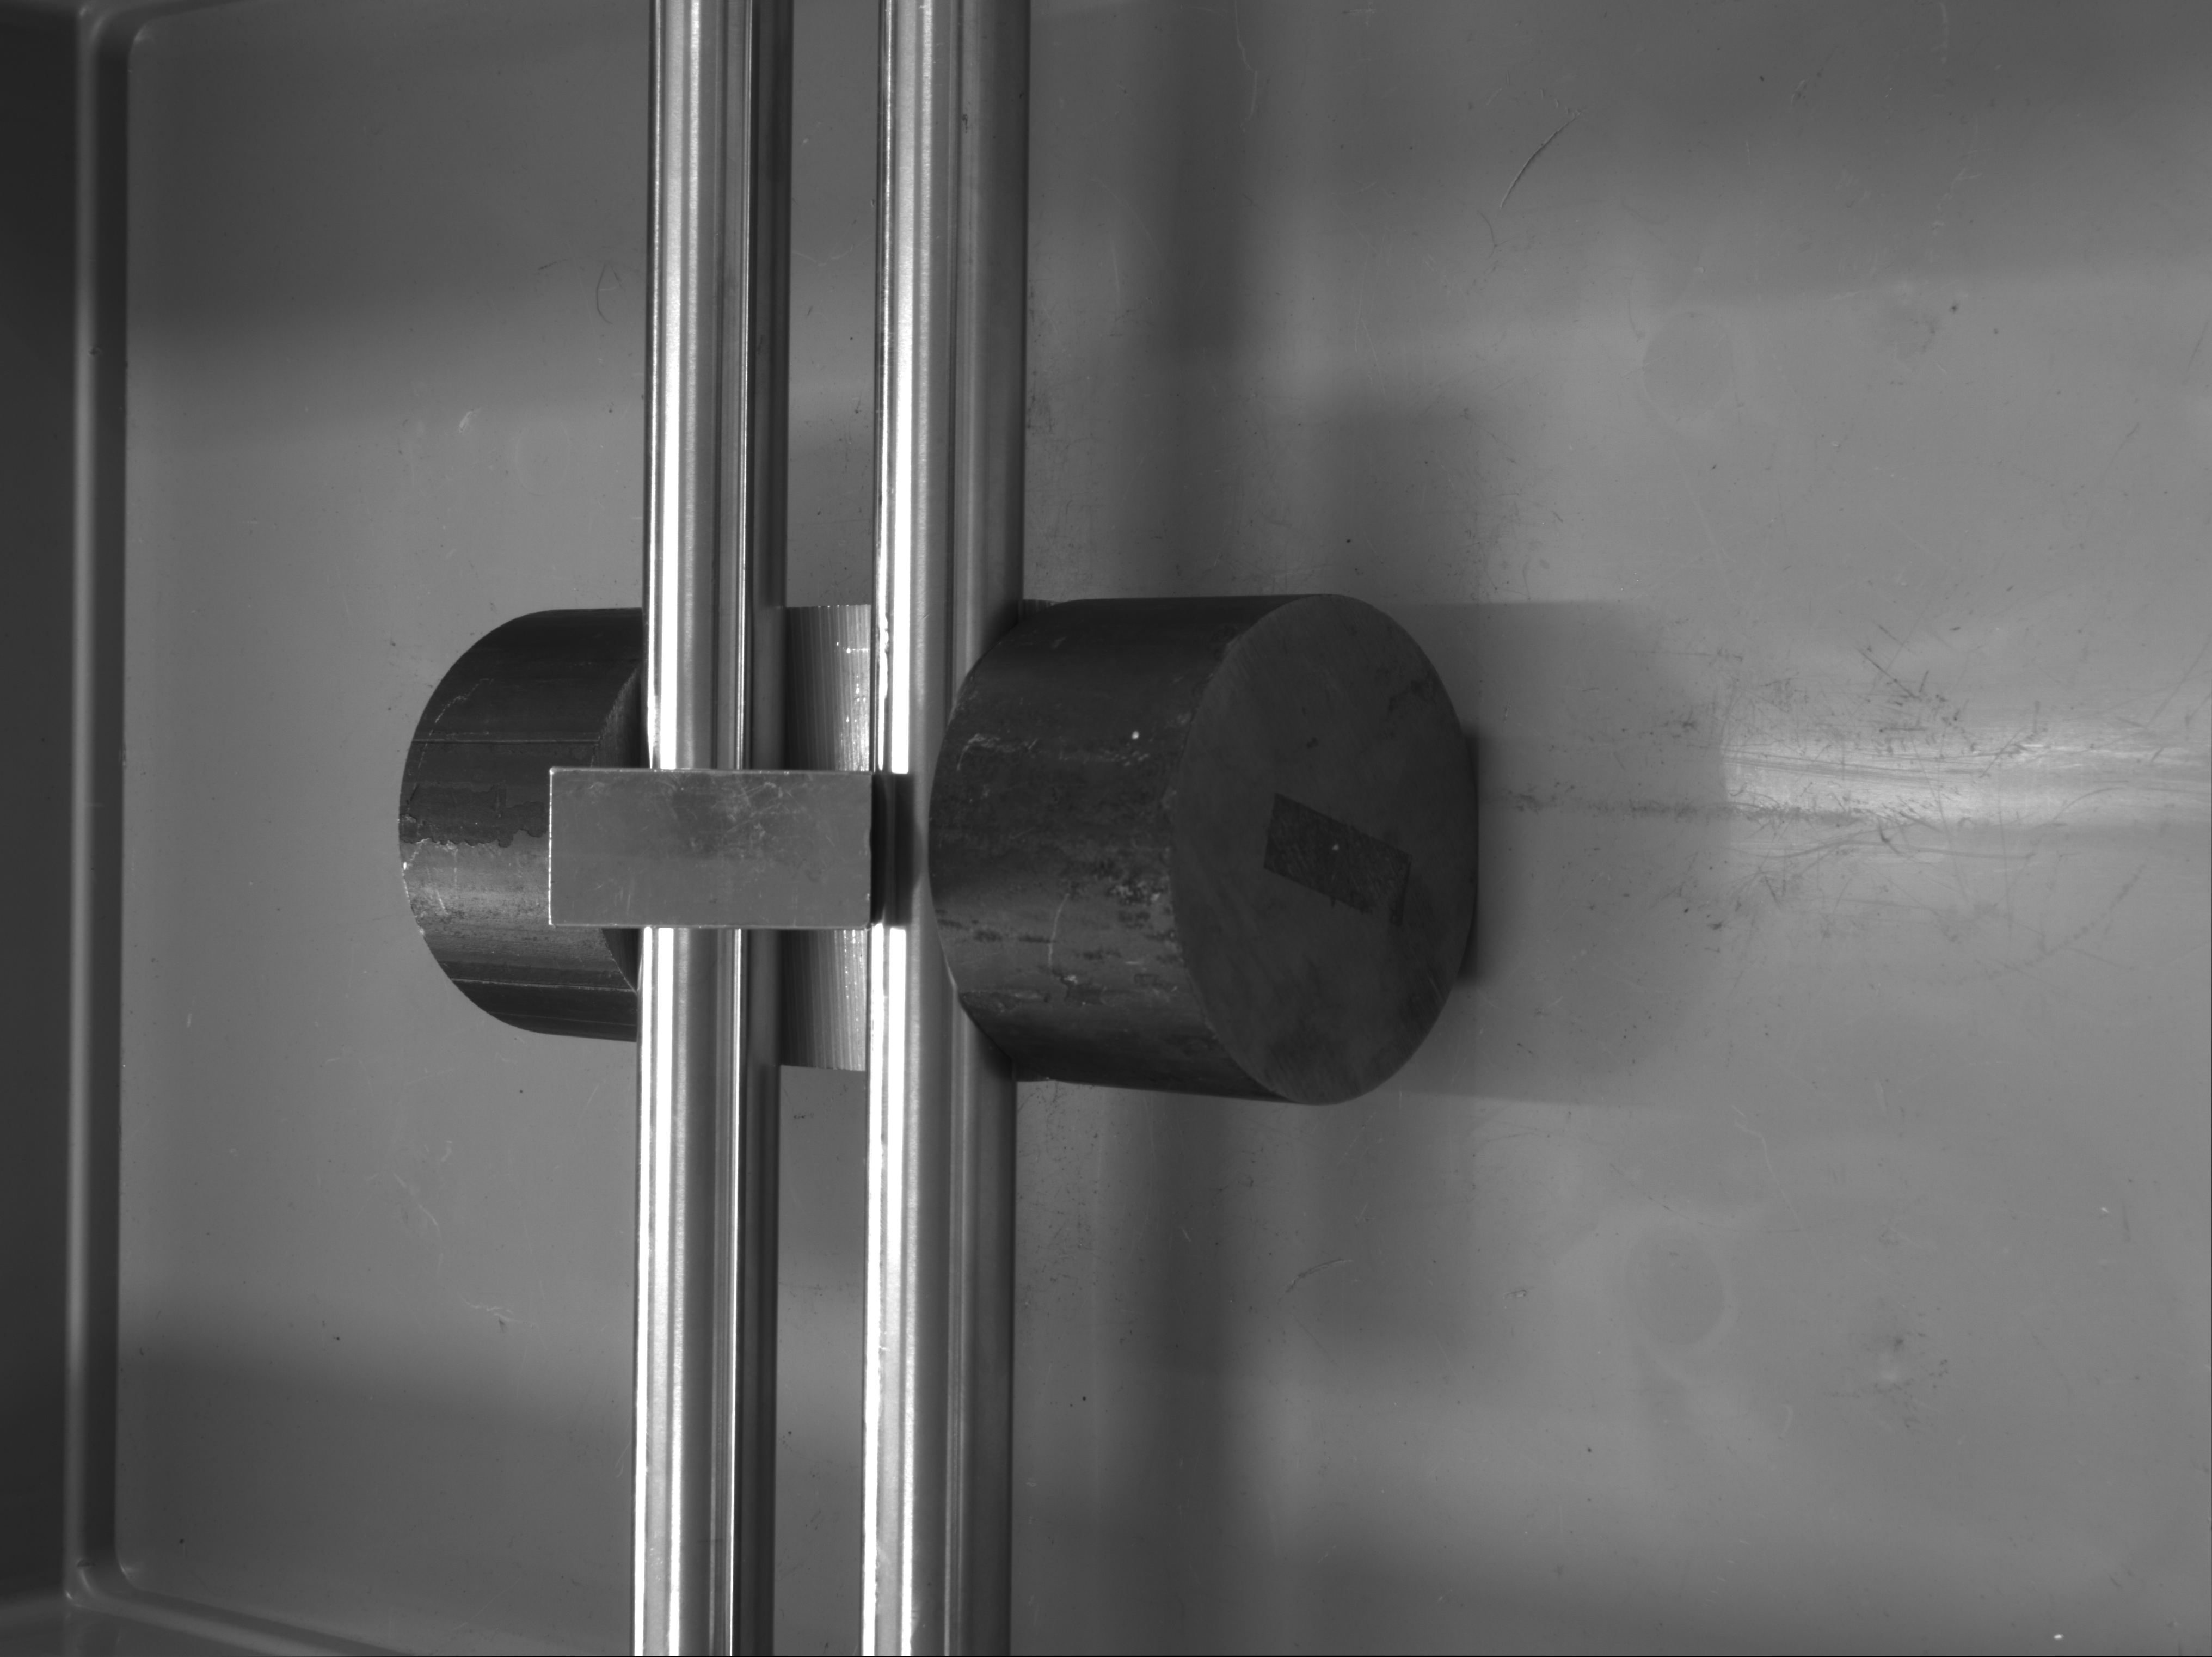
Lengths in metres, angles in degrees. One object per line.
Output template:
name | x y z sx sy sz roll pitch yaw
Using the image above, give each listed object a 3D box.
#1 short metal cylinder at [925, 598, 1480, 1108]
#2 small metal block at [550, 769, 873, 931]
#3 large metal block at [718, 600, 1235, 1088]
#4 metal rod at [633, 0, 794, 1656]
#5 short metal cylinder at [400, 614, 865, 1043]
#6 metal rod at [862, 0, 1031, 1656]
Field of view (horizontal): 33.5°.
short metal cylinder | 0.017 0.004 0.593 0.050 0.080 0.080 1 90 41
small metal block | -0.064 0.003 0.599 0.050 0.050 0.025 -174 85 -85
large metal block | -0.024 0.002 0.647 0.080 0.050 0.080 1 91 40
metal rod | -0.068 0.006 0.636 0.025 0.025 0.300 1 91 40
short metal cylinder | -0.083 0.000 0.678 0.050 0.080 0.080 2 91 40
metal rod | -0.026 0.004 0.601 0.025 0.025 0.300 1 91 40
